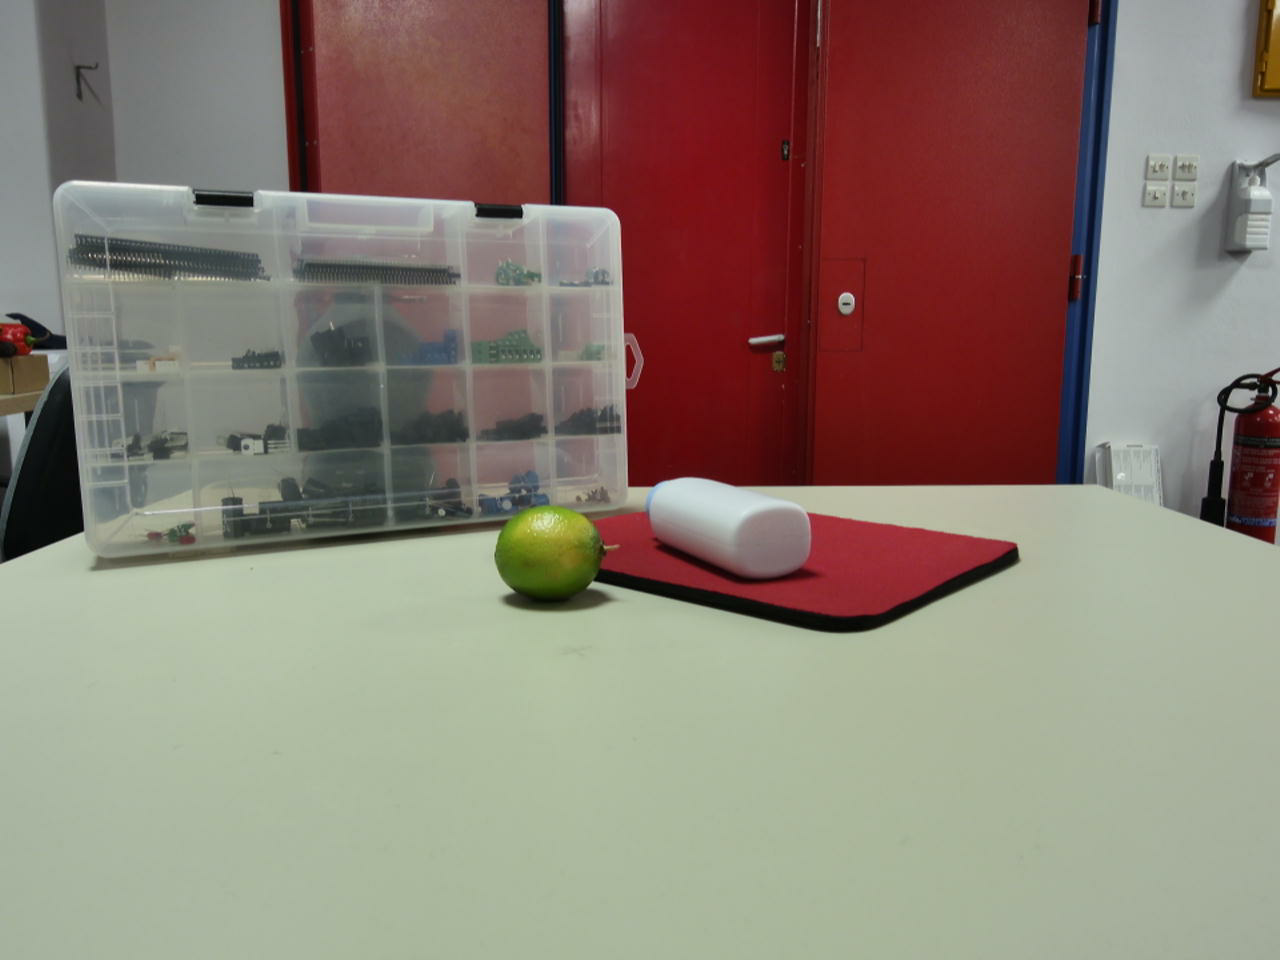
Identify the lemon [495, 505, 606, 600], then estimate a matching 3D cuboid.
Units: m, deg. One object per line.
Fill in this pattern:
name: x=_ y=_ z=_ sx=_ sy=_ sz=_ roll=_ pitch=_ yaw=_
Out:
lemon: x=-0.049 y=0.039 z=0.539 sx=0.054 sy=0.050 sz=0.055 roll=-7 pitch=9 yaw=-40
